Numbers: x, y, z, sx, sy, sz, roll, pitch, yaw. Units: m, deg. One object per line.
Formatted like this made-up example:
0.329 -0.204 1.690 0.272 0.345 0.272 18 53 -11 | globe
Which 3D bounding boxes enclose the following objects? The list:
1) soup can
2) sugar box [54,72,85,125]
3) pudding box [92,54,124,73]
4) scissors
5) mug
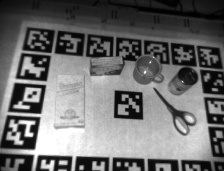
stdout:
0.251 -0.018 0.773 0.068 0.102 0.067 2 69 -5 | soup can
-0.138 0.043 0.721 0.093 0.045 0.176 1 72 -6 | sugar box
-0.010 -0.077 0.751 0.114 0.090 0.038 -5 77 -10 | pudding box
0.220 0.081 0.770 0.088 0.016 0.202 -39 81 -9 | scissors
0.137 -0.064 0.776 0.094 0.081 0.116 -31 76 -14 | mug
